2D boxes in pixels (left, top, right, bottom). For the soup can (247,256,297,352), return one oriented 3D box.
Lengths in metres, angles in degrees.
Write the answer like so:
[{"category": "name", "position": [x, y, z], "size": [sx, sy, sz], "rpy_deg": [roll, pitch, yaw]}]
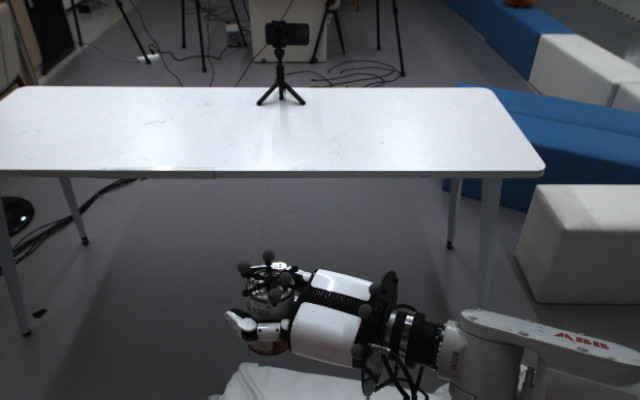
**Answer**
[{"category": "soup can", "position": [-0.066, 0.155, 0.667], "size": [0.067, 0.101, 0.067], "rpy_deg": [3, 30, -2]}]
